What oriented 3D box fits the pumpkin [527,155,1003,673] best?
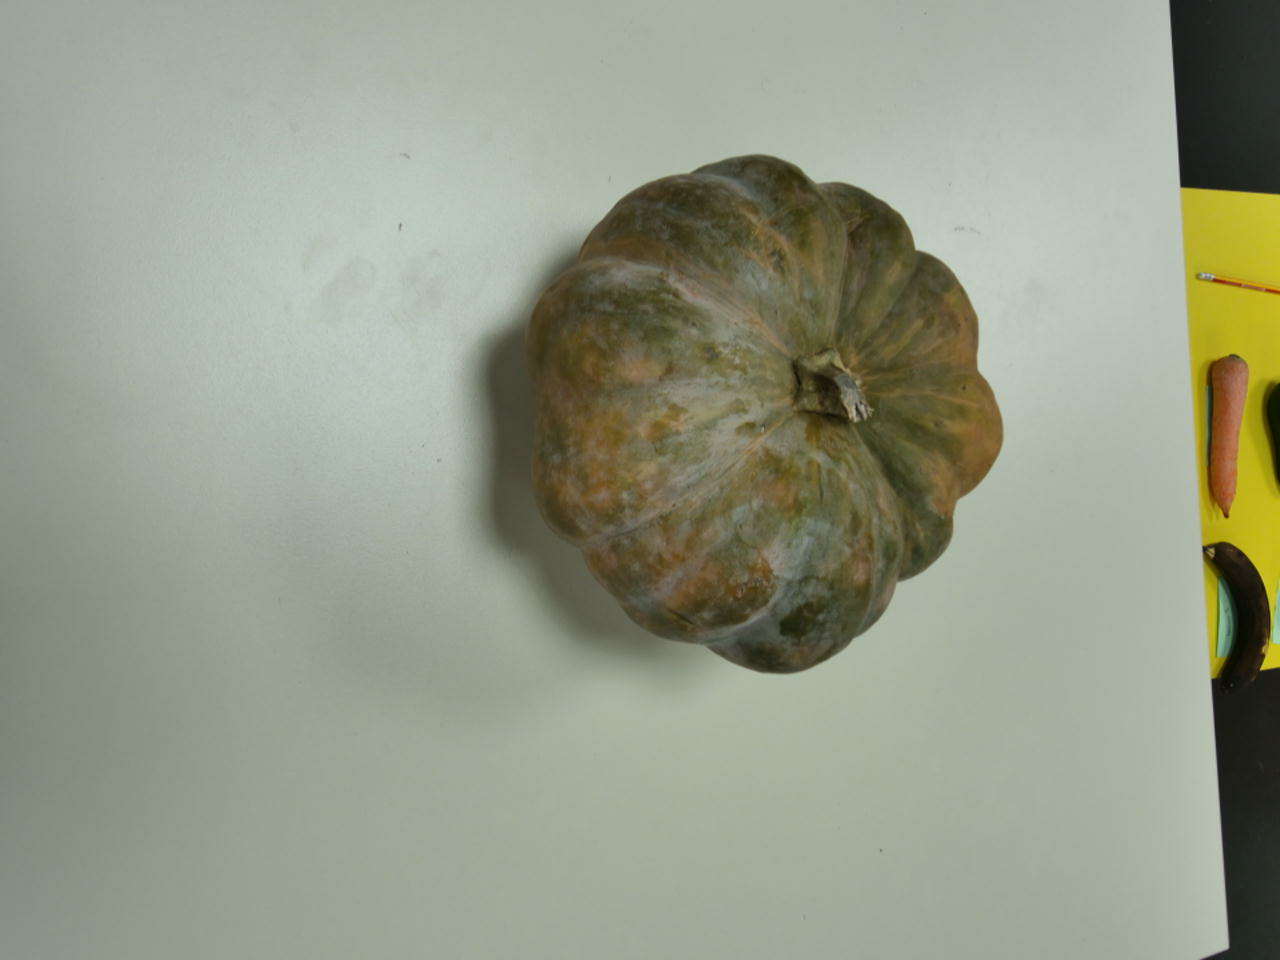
[{"bbox_3d":[0.061,-0.038,0.506,0.252,0.169,0.252,0,91,-22],"label":"pumpkin"}]
